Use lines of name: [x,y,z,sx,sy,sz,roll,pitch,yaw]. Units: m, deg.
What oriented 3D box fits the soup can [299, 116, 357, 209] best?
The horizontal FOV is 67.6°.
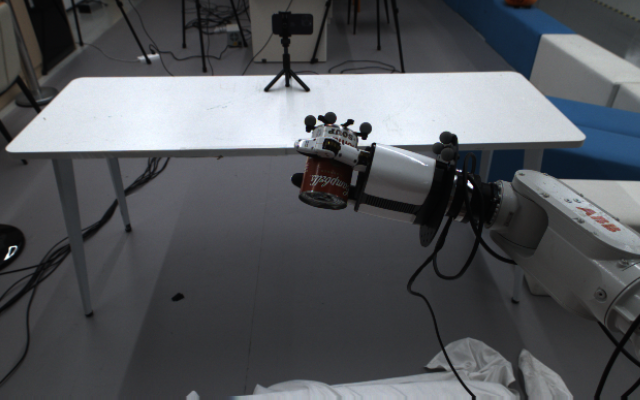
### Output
soup can: [0.014,-0.044,0.666,0.067,0.067,0.101,8,72,9]
